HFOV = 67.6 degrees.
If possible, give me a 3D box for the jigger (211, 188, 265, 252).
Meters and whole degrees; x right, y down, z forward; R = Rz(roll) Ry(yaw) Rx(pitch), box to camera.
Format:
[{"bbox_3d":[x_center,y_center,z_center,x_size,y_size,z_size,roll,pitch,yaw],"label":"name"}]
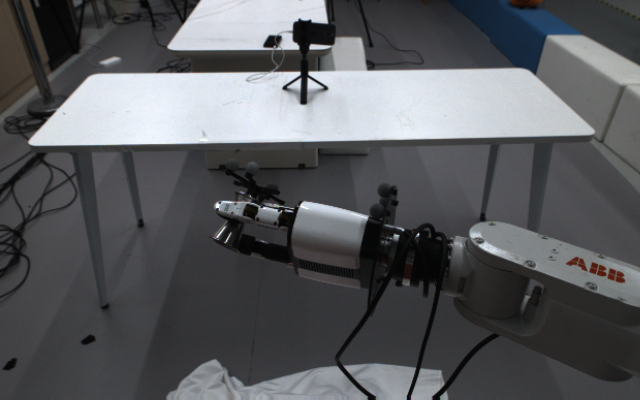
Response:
[{"bbox_3d":[-0.107,0.025,0.615,0.043,0.043,0.071,20,74,24],"label":"jigger"}]
